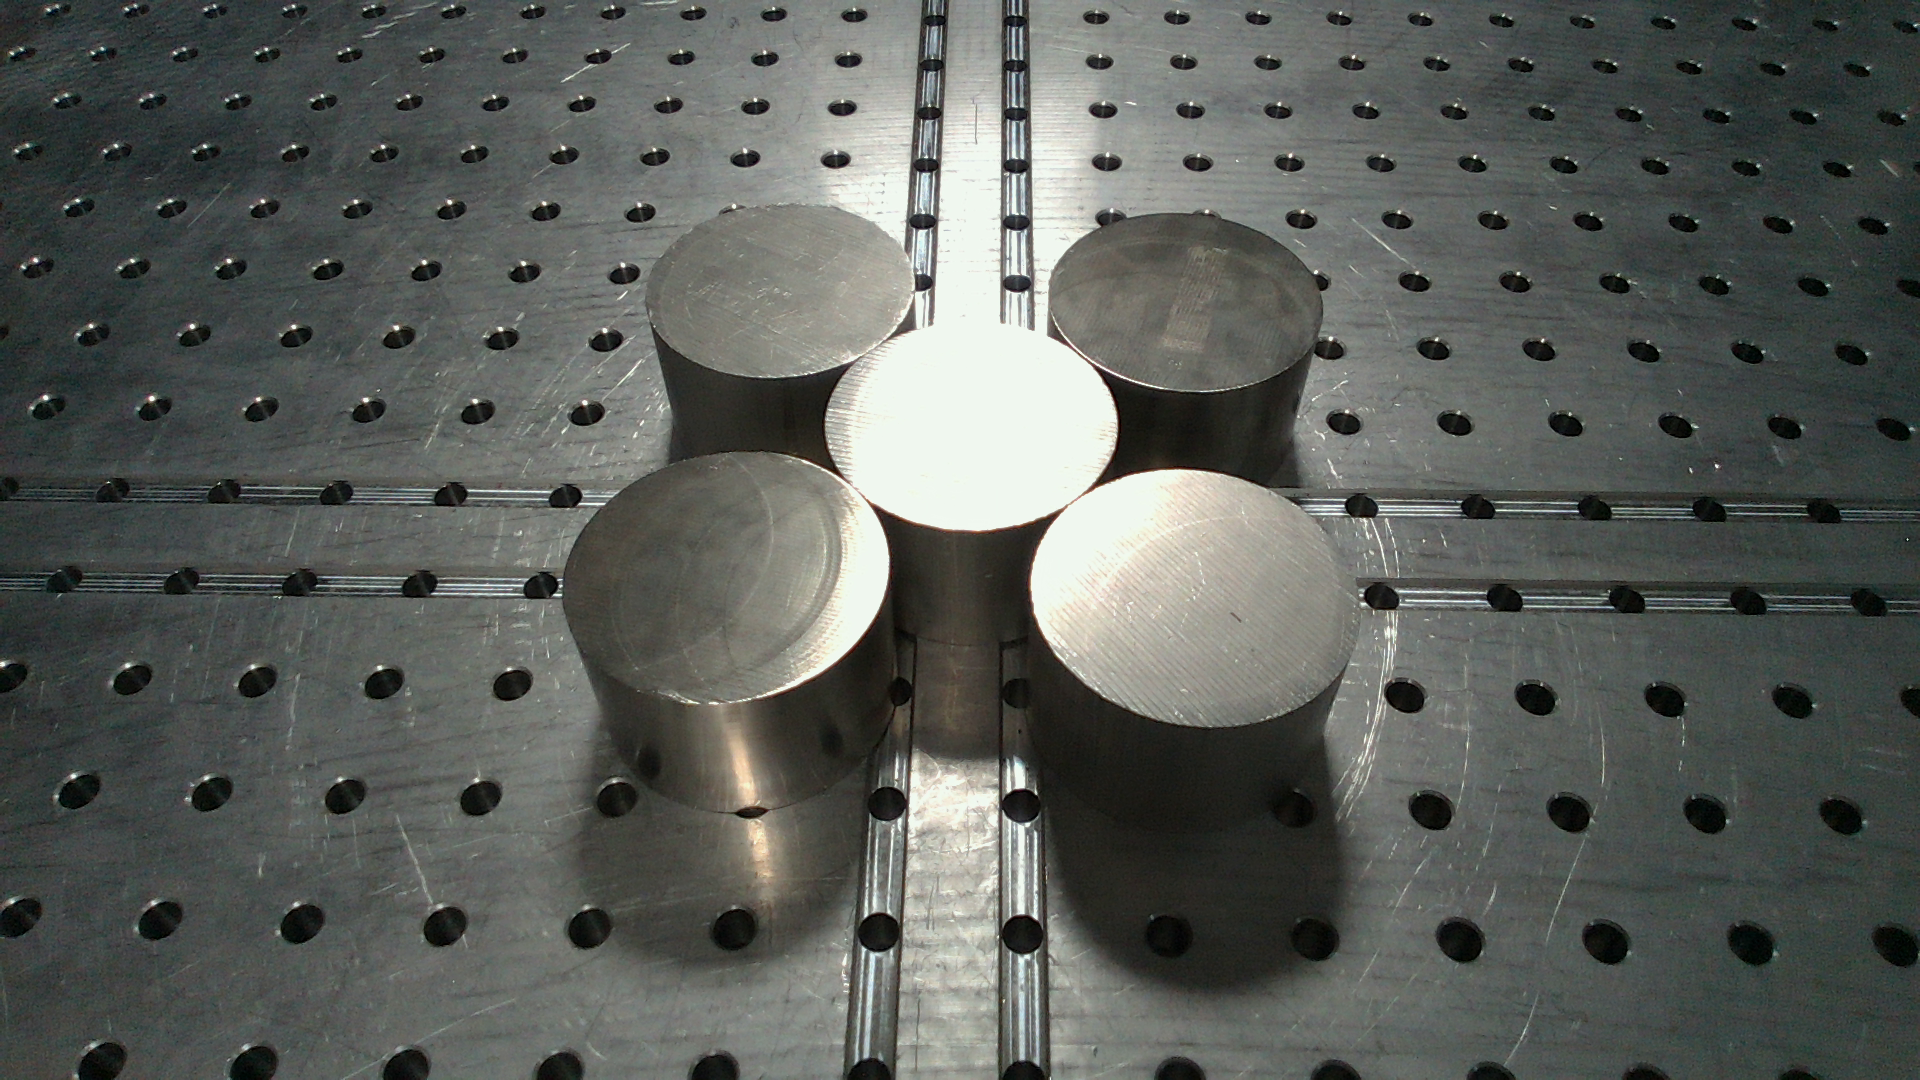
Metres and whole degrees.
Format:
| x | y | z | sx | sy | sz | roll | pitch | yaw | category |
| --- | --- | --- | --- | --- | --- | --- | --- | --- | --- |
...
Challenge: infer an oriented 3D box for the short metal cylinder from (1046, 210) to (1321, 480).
| x | y | z | sx | sy | sz | roll | pitch | yaw | category |
| --- | --- | --- | --- | --- | --- | --- | --- | --- | --- |
| 0.066 | -0.057 | 0.423 | 0.080 | 0.050 | 0.080 | 0 | 50 | 0 | short metal cylinder |

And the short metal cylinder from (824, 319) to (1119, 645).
| x | y | z | sx | sy | sz | roll | pitch | yaw | category |
| --- | --- | --- | --- | --- | --- | --- | --- | --- | --- |
| 0.003 | -0.017 | 0.392 | 0.080 | 0.050 | 0.080 | 0 | 50 | 0 | short metal cylinder |

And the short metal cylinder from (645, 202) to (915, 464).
| x | y | z | sx | sy | sz | roll | pitch | yaw | category |
| --- | --- | --- | --- | --- | --- | --- | --- | --- | --- |
| -0.053 | -0.060 | 0.428 | 0.080 | 0.050 | 0.080 | 0 | 50 | 0 | short metal cylinder |

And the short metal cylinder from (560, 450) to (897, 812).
| x | y | z | sx | sy | sz | roll | pitch | yaw | category |
| --- | --- | --- | --- | --- | --- | --- | --- | --- | --- |
| -0.058 | 0.023 | 0.358 | 0.080 | 0.050 | 0.080 | 0 | 50 | 0 | short metal cylinder |

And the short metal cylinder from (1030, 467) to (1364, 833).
| x | y | z | sx | sy | sz | roll | pitch | yaw | category |
| --- | --- | --- | --- | --- | --- | --- | --- | --- | --- |
| 0.058 | 0.027 | 0.354 | 0.080 | 0.050 | 0.080 | 0 | 50 | 0 | short metal cylinder |
